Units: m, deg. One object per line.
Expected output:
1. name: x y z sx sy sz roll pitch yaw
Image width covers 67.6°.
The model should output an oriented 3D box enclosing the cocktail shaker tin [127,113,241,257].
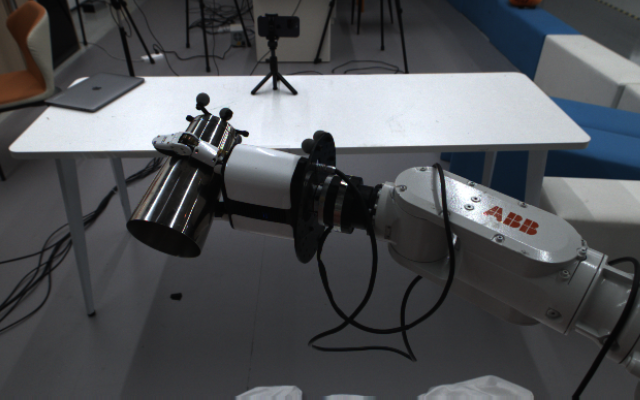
1. cocktail shaker tin: -0.163 -0.023 0.610 0.093 0.093 0.170 10 60 11
